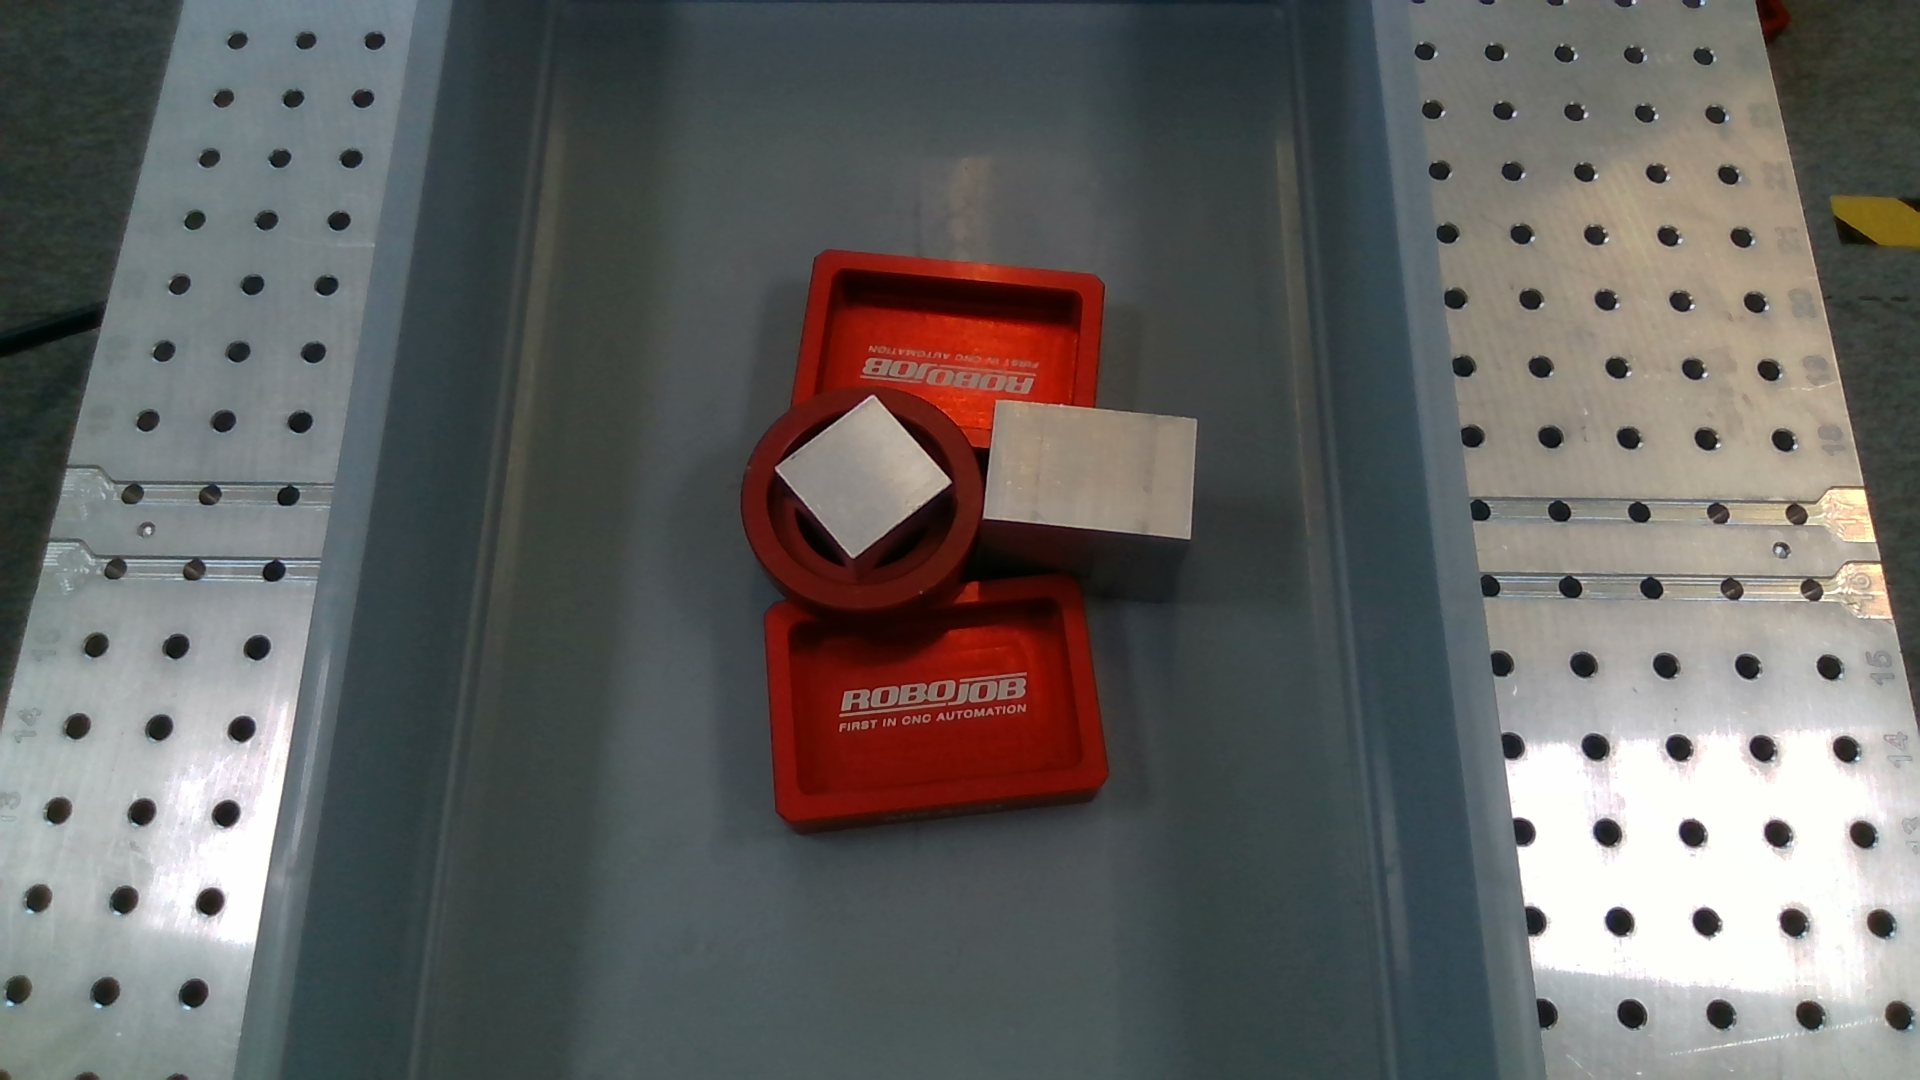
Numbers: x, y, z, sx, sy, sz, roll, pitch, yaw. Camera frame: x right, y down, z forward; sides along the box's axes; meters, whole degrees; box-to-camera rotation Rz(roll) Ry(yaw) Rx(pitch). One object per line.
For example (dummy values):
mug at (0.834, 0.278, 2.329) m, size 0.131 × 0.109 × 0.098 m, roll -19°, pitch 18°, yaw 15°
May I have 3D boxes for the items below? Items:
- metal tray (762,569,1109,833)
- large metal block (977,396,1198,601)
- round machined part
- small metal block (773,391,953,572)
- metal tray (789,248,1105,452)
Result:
metal tray at (-0.011, 0.065, 0.561) m, size 0.130 × 0.030 × 0.090 m, roll -6°, pitch 70°, yaw -2°
large metal block at (0.050, -0.015, 0.563) m, size 0.080 × 0.080 × 0.050 m, roll 6°, pitch 70°, yaw 2°
round machined part at (-0.040, -0.011, 0.572) m, size 0.098 × 0.042 × 0.098 m, roll 0°, pitch 70°, yaw 0°
small metal block at (-0.038, -0.022, 0.550) m, size 0.050 × 0.025 × 0.050 m, roll -38°, pitch 75°, yaw -12°
metal tray at (-0.005, -0.078, 0.612) m, size 0.130 × 0.030 × 0.090 m, roll 6°, pitch 70°, yaw 2°
